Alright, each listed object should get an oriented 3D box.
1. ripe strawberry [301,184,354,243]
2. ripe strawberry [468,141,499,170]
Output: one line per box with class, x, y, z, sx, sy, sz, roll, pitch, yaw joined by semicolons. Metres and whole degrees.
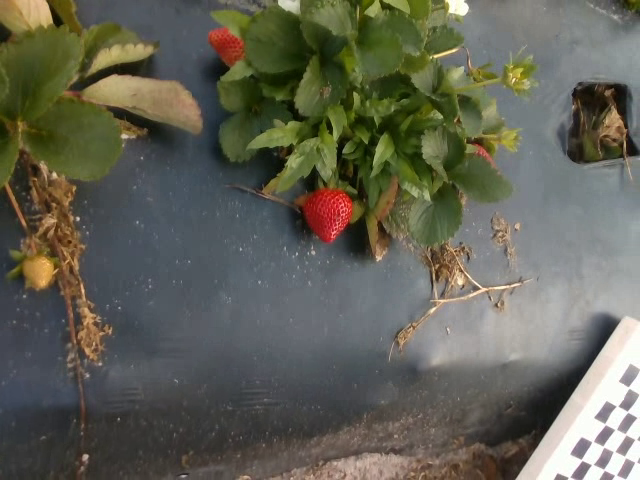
ripe strawberry;0.004;-0.019;0.475;0.043;0.051;0.042;11;-17;-26
ripe strawberry;0.144;-0.066;0.542;0.046;0.043;0.046;28;1;3
